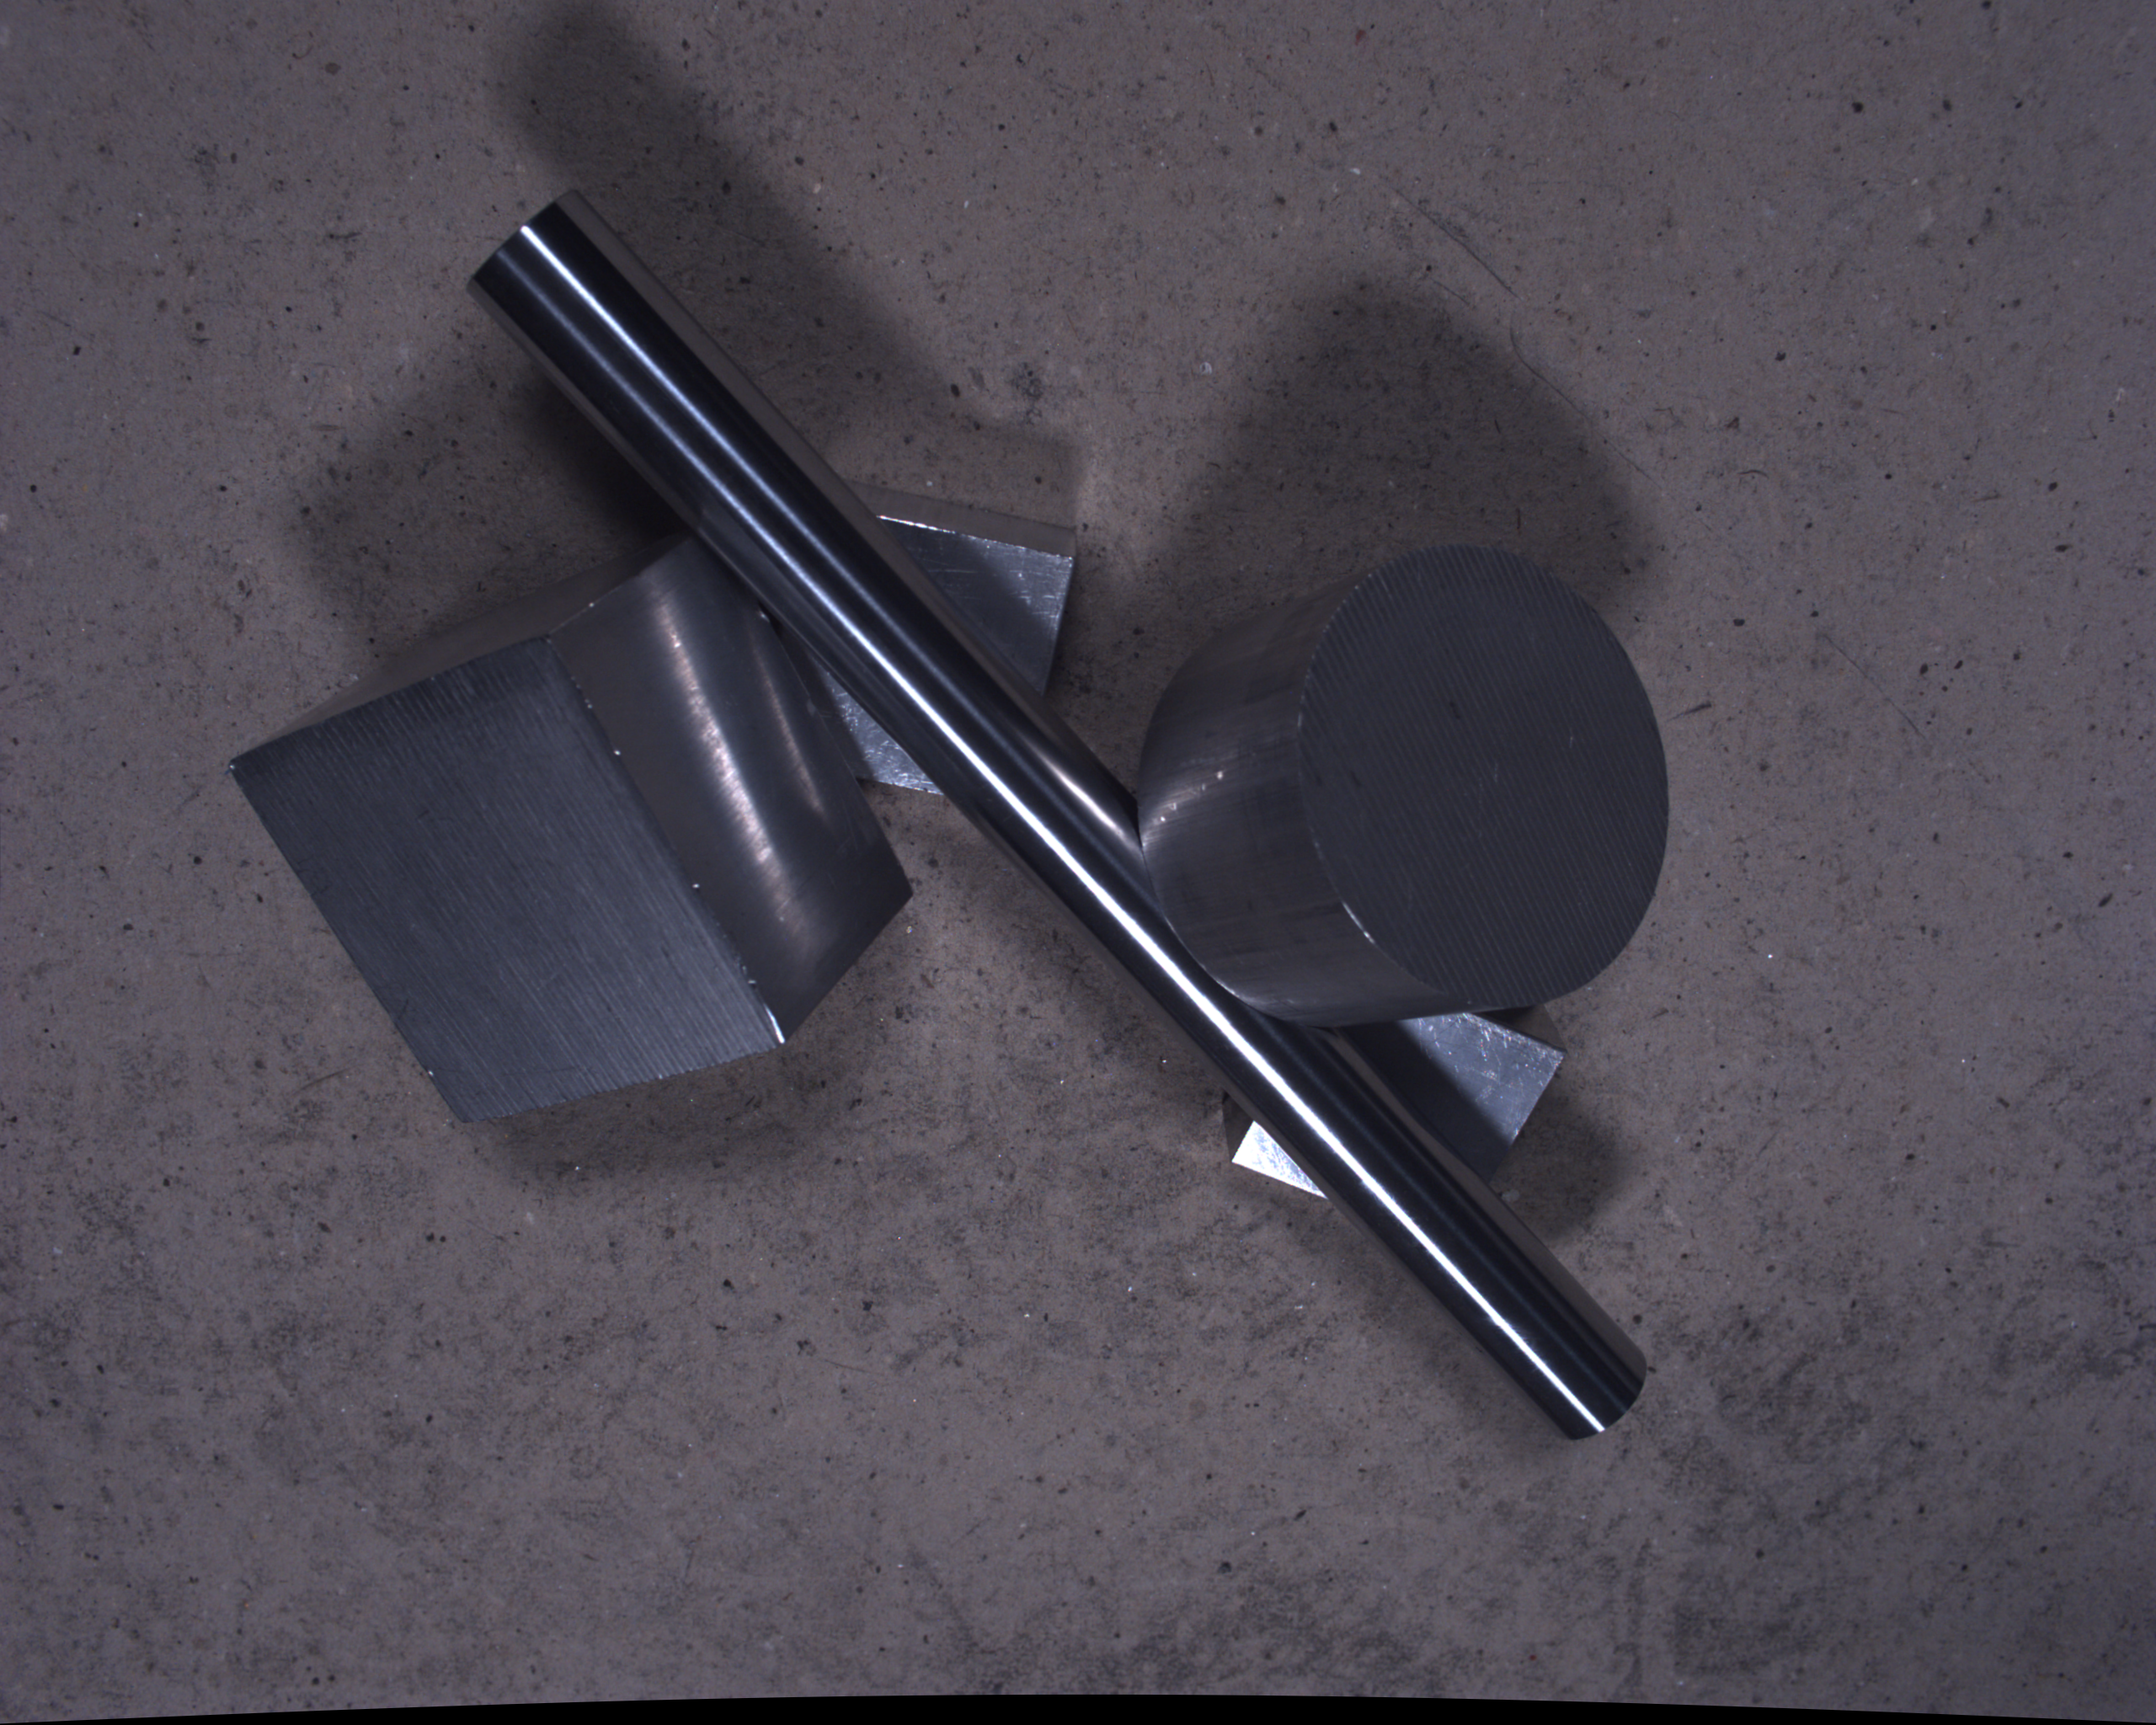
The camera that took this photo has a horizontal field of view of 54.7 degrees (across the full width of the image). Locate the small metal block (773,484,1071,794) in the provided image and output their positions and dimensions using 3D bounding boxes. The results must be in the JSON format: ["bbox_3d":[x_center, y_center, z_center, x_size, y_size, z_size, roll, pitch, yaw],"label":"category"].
[{"bbox_3d":[-0.031,-0.042,0.396,0.050,0.025,0.050,11,110,-5],"label":"small metal block"}]

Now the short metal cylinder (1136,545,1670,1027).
[{"bbox_3d":[0.058,-0.011,0.373,0.081,0.050,0.080,5,80,-29],"label":"short metal cylinder"}]

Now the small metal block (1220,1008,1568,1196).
[{"bbox_3d":[0.064,0.044,0.429,0.050,0.025,0.050,23,108,-9],"label":"small metal block"}]

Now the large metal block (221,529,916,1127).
[{"bbox_3d":[-0.090,-0.005,0.377,0.080,0.050,0.080,-15,112,30],"label":"large metal block"}]

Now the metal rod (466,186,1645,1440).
[{"bbox_3d":[0.007,0.002,0.385,0.025,0.025,0.300,-39,106,13],"label":"metal rod"}]
